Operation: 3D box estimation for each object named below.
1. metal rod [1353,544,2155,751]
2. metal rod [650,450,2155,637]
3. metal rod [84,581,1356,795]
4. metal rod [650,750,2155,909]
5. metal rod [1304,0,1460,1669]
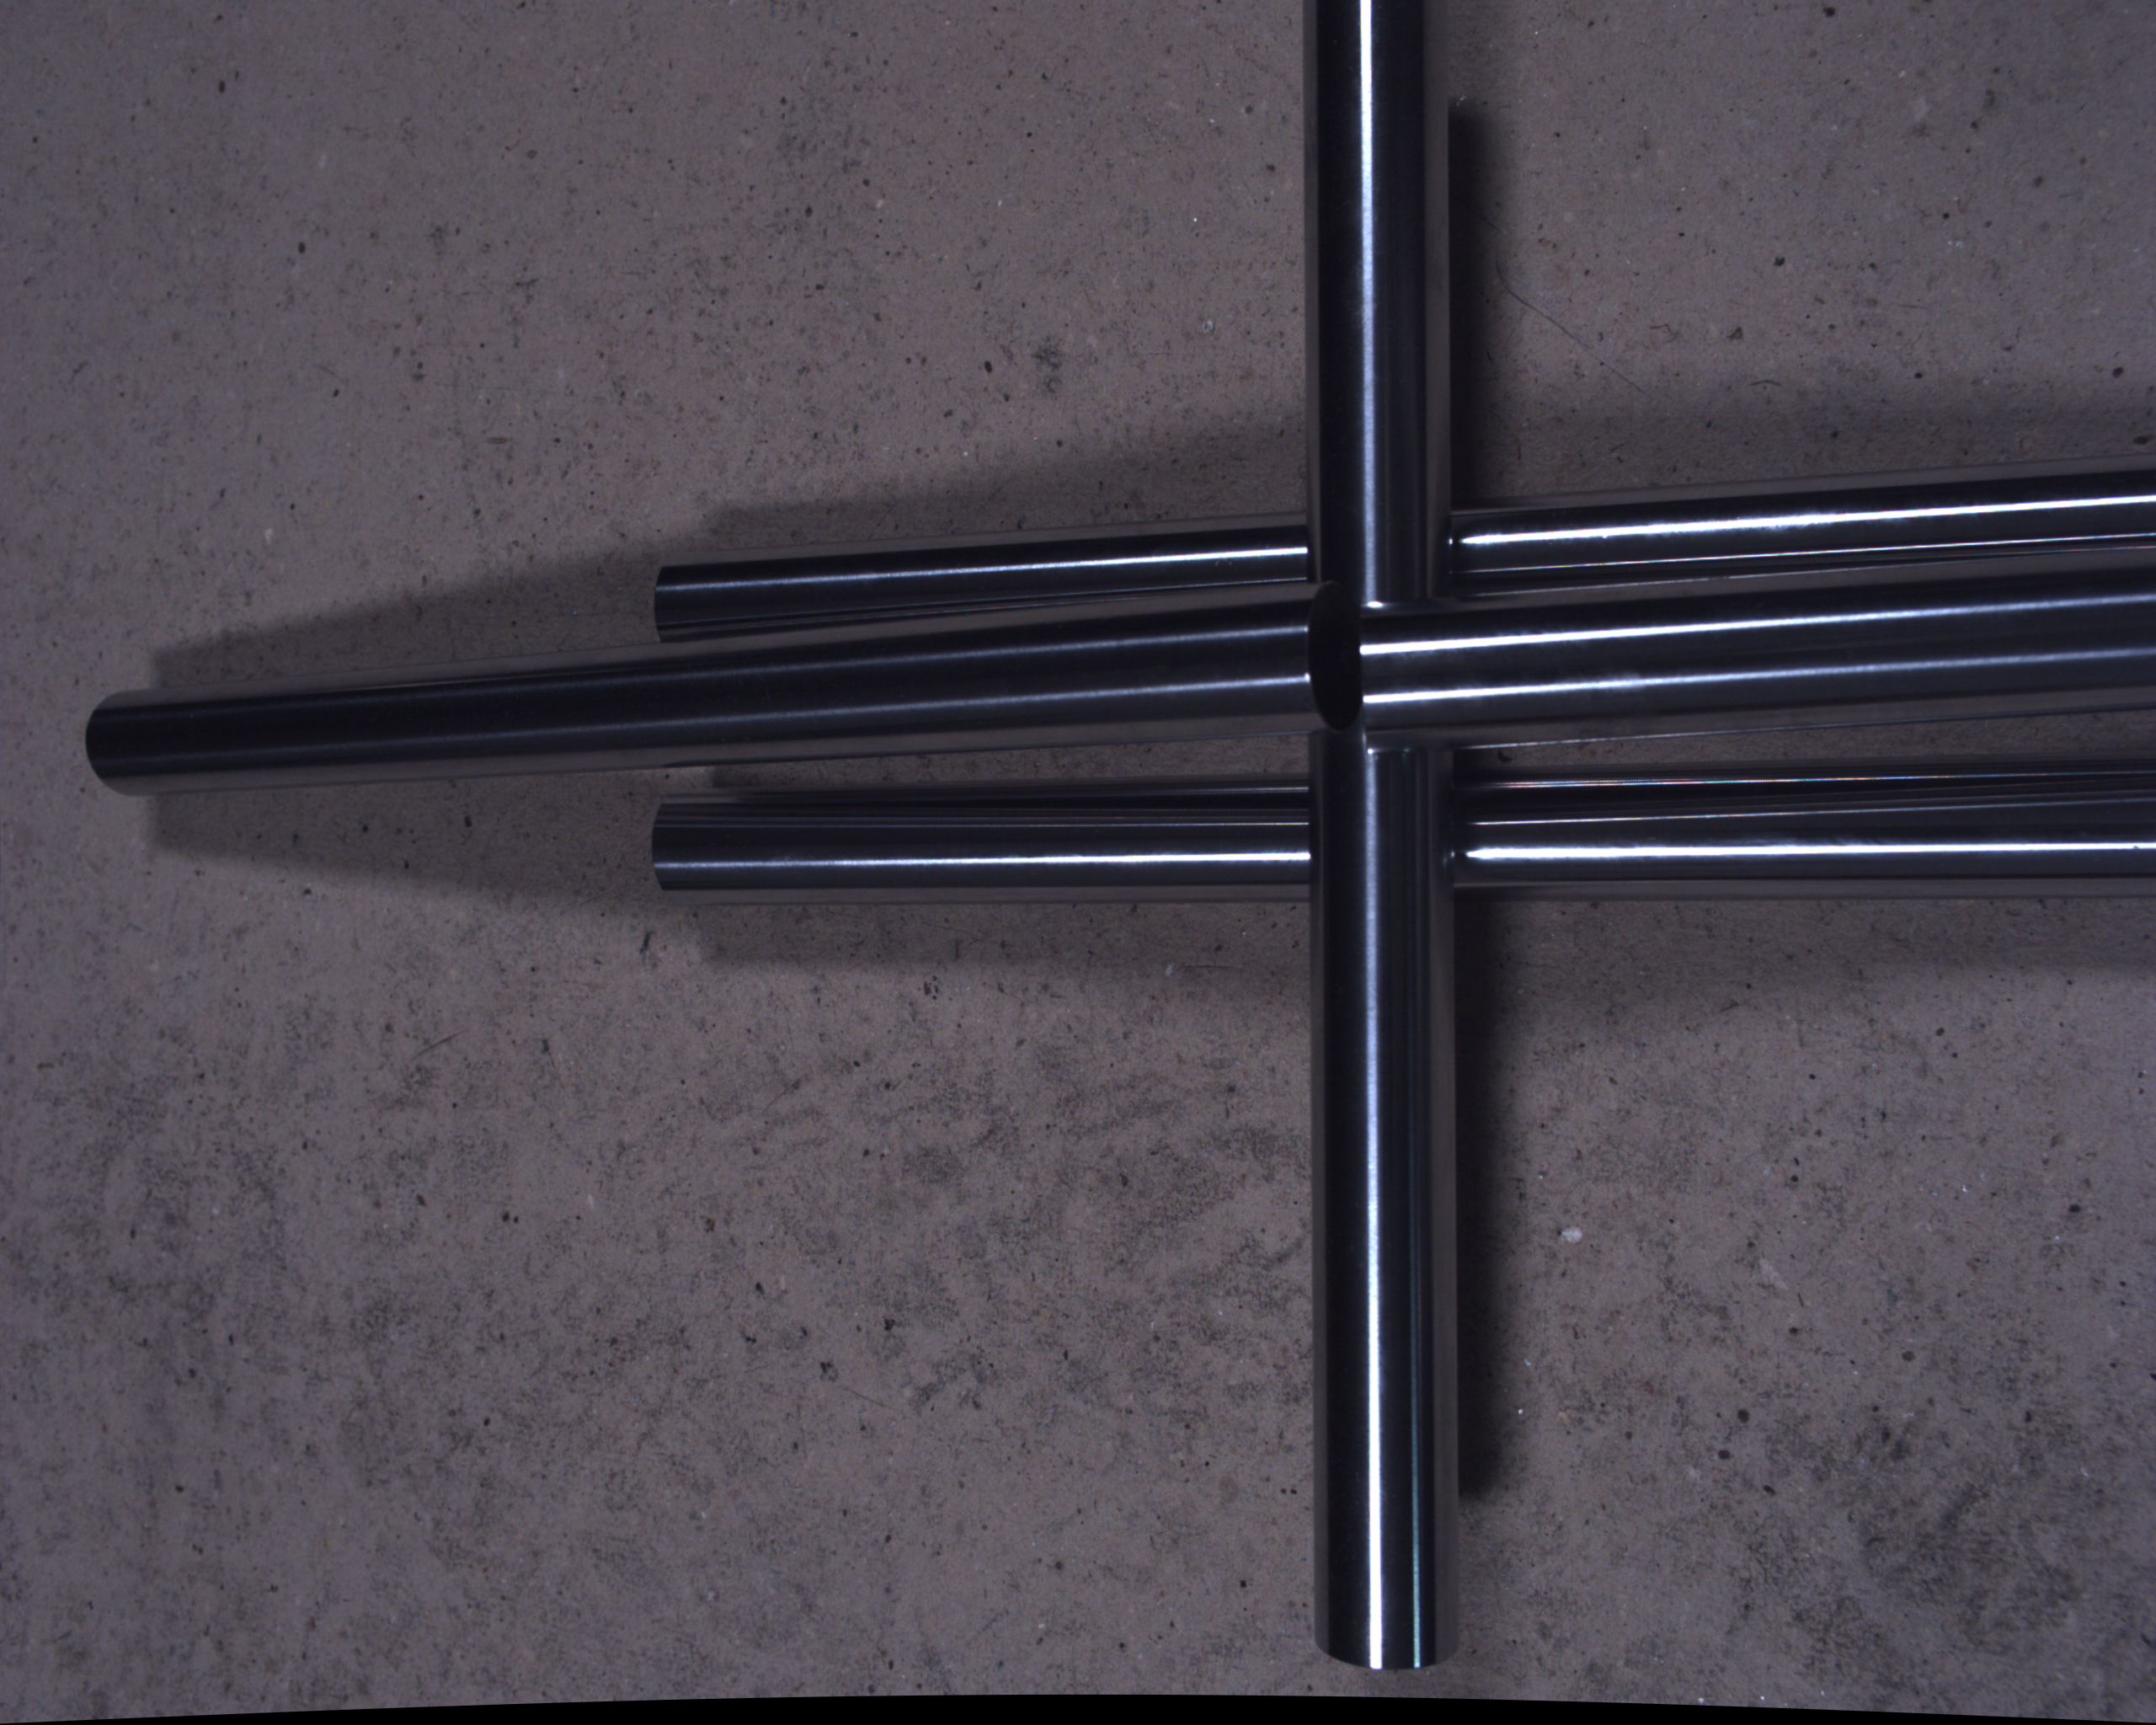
[{"bbox_3d":[0.194,-0.038,0.316,0.301,0.025,0.025,-3,89,9],"label":"metal rod"},{"bbox_3d":[0.059,-0.054,0.388,0.301,0.025,0.025,-1,90,19],"label":"metal rod"},{"bbox_3d":[-0.089,-0.031,0.413,0.300,0.025,0.025,-1,90,29],"label":"metal rod"},{"bbox_3d":[0.059,-0.005,0.388,0.301,0.025,0.025,-1,90,19],"label":"metal rod"},{"bbox_3d":[0.053,-0.013,0.364,0.025,0.025,0.298,0,90,19],"label":"metal rod"}]
